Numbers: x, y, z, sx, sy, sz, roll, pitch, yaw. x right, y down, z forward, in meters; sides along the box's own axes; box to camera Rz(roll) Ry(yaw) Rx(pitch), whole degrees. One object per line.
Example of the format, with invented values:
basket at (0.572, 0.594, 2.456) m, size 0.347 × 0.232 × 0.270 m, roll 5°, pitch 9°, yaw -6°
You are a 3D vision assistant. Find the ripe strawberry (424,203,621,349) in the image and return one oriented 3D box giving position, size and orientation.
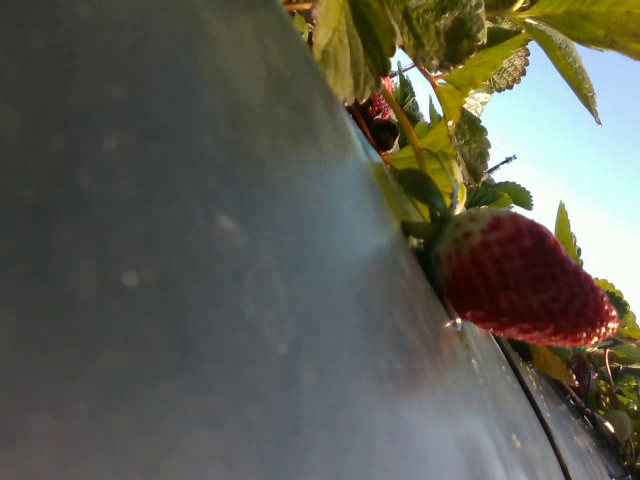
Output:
ripe strawberry at (0.040, 0.009, 0.115) m, size 0.041 × 0.031 × 0.028 m, roll 29°, pitch 18°, yaw 32°
